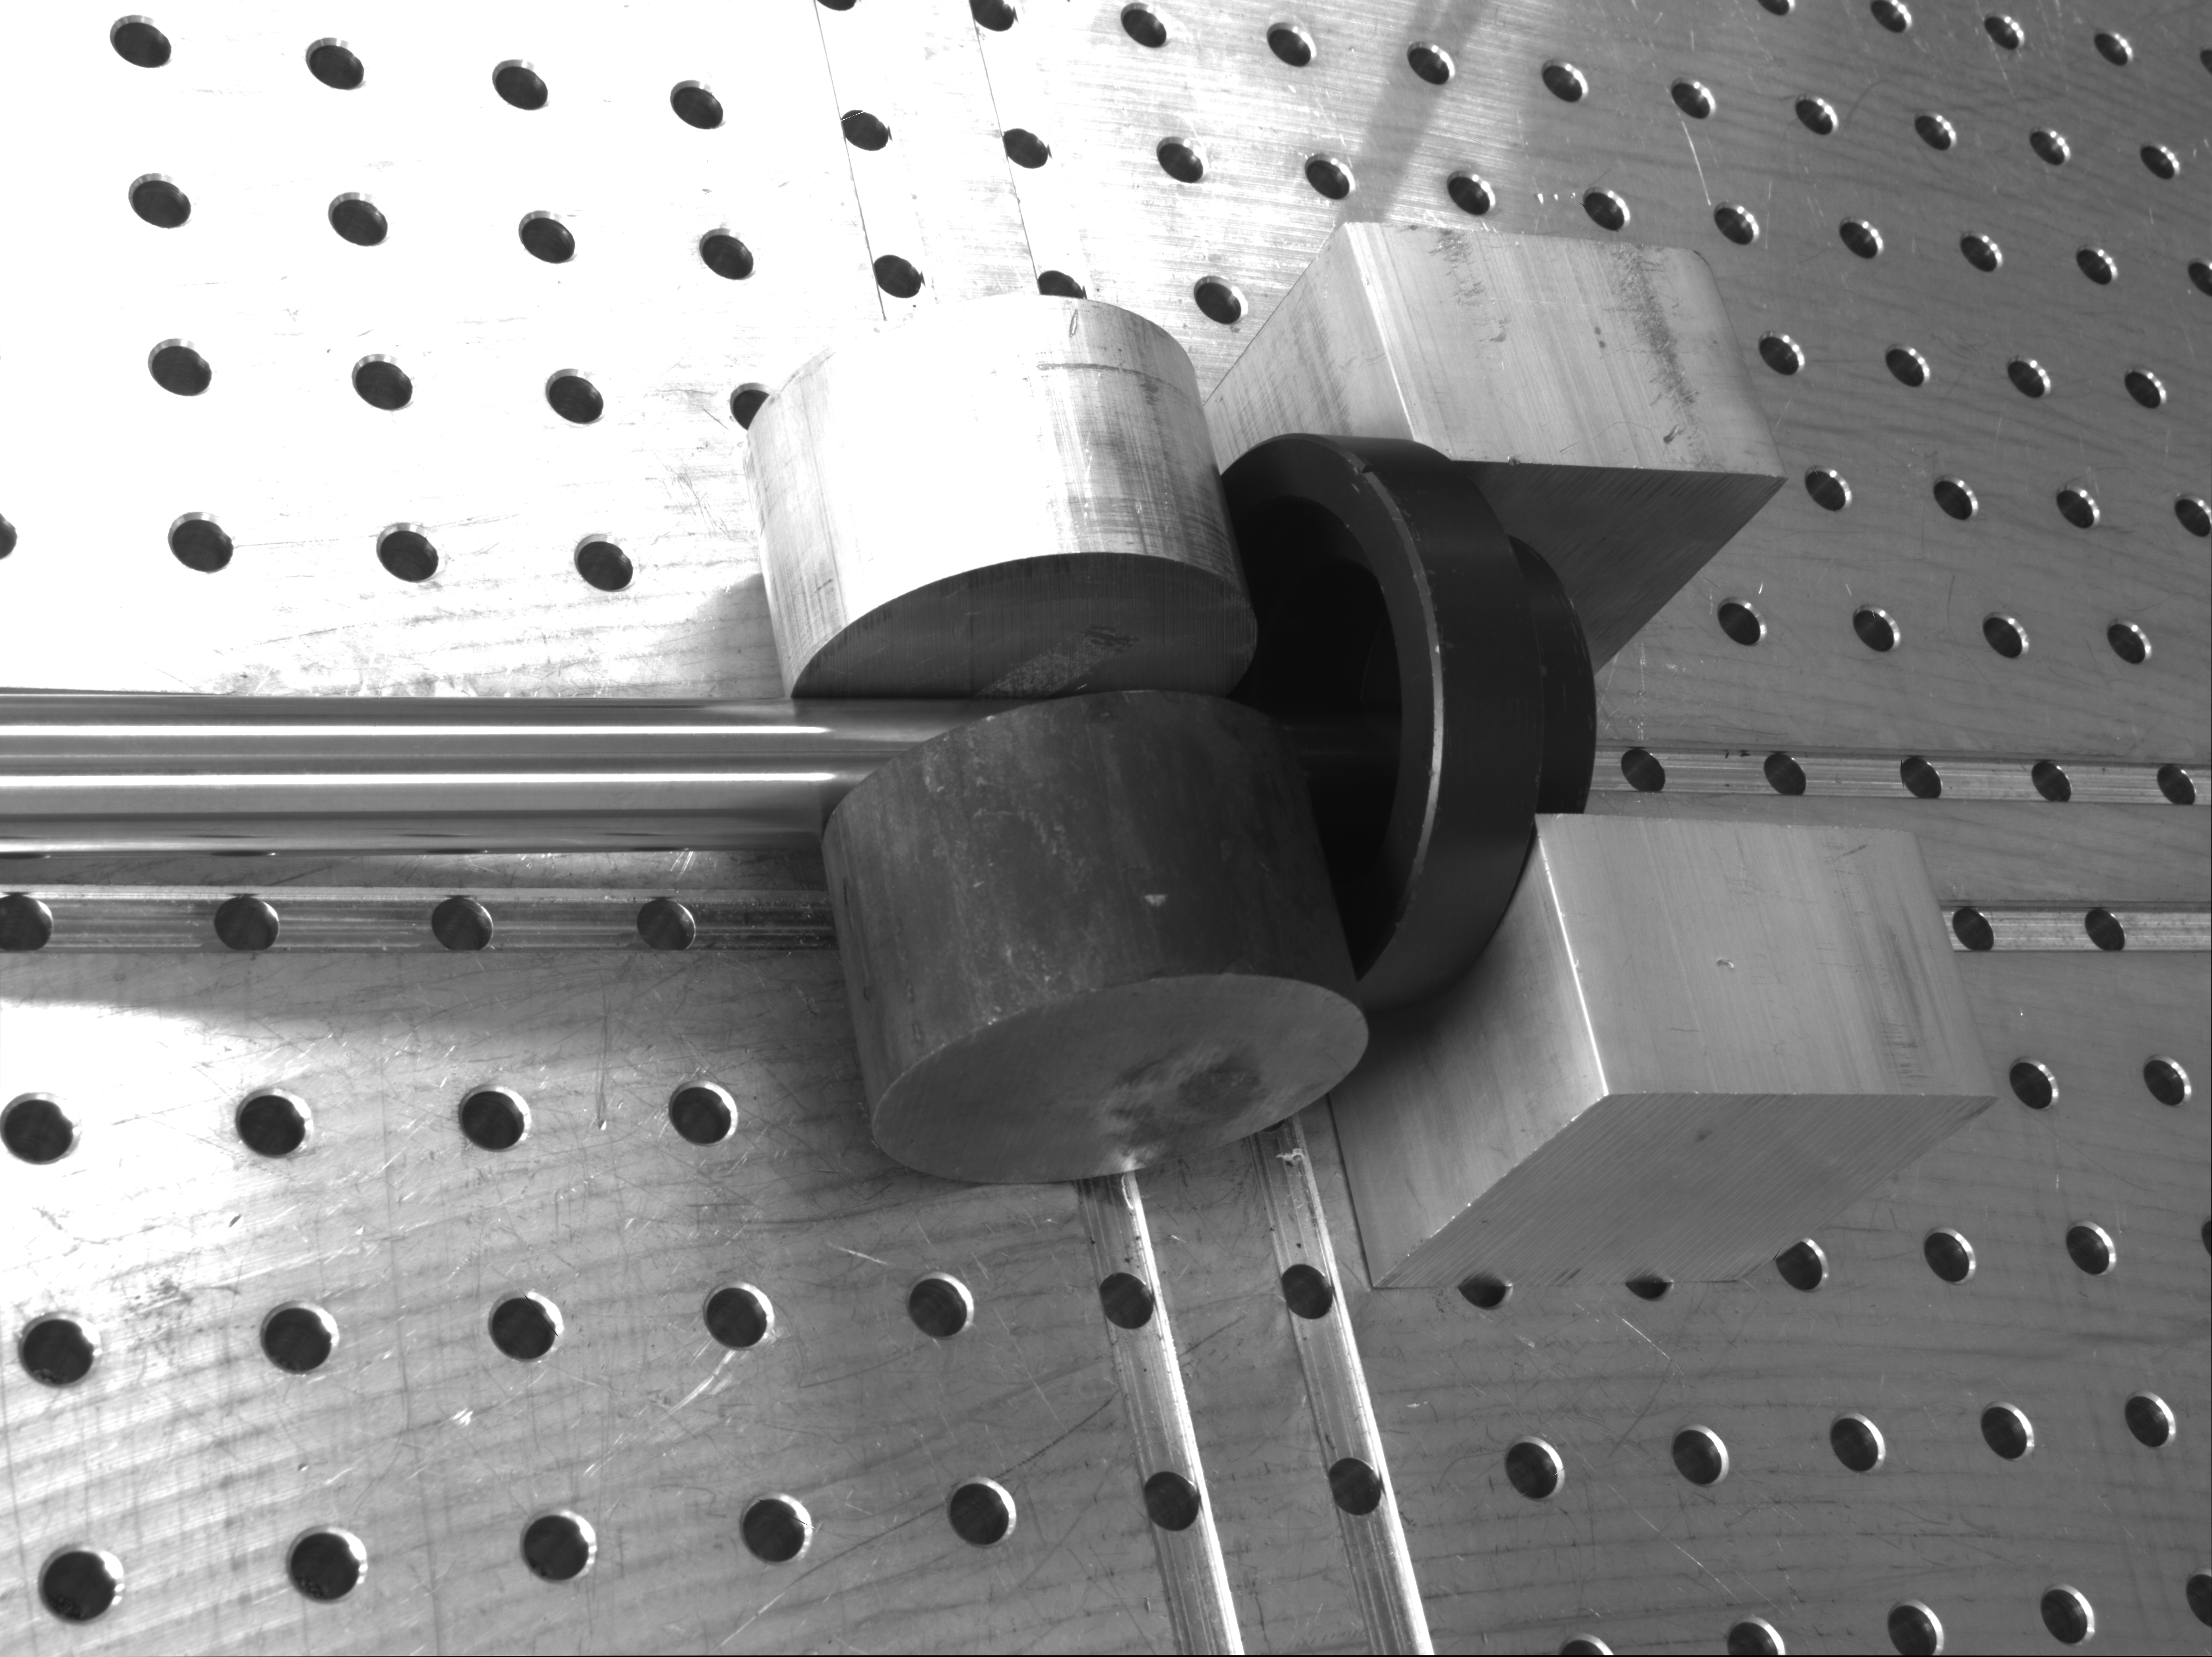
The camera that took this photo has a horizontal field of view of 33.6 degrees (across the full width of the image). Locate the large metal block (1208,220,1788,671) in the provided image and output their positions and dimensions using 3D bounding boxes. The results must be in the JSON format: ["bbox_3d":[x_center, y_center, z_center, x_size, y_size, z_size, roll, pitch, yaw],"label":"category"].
[{"bbox_3d":[0.065,-0.066,0.683,0.080,0.080,0.050,0,62,-28],"label":"large metal block"}]

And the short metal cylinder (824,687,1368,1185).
[{"bbox_3d":[-0.002,0.019,0.593,0.080,0.080,0.050,1,61,-27],"label":"short metal cylinder"}]

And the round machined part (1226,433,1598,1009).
[{"bbox_3d":[0.048,-0.018,0.631,0.042,0.098,0.098,1,61,-28],"label":"round machined part"}]

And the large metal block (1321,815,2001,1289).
[{"bbox_3d":[0.092,0.040,0.632,0.080,0.080,0.050,3,60,-27],"label":"large metal block"}]

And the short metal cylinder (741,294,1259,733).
[{"bbox_3d":[-0.019,-0.047,0.625,0.080,0.080,0.050,1,62,-28],"label":"short metal cylinder"}]

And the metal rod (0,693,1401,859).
[{"bbox_3d":[-0.090,-0.008,0.584,0.301,0.025,0.025,0,62,-24],"label":"metal rod"}]
